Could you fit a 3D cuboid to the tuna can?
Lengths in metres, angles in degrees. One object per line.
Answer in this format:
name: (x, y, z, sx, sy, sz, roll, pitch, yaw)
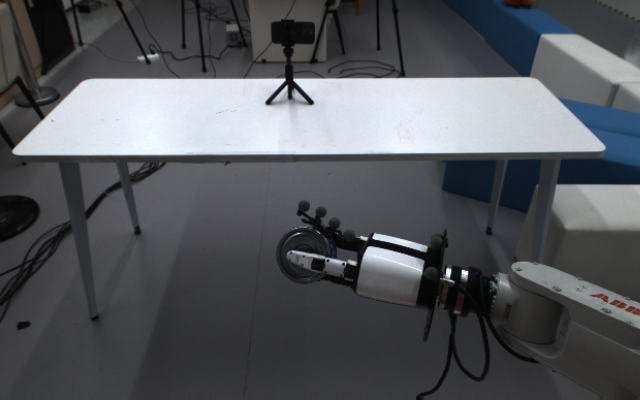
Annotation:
tuna can: (-0.018, 0.079, 0.712, 0.085, 0.085, 0.034, 13, 5, 15)
